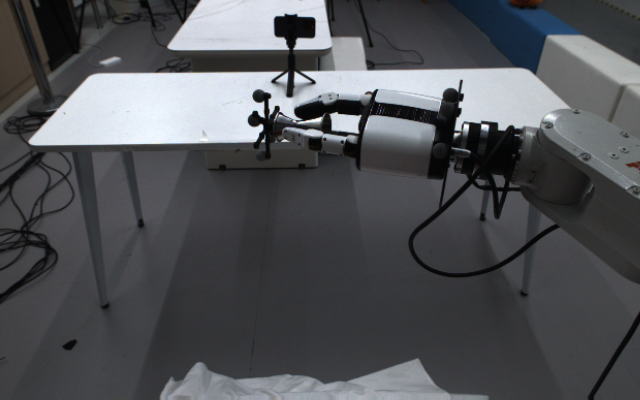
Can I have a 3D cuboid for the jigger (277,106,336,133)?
[{"bbox_3d":[-0.017,-0.098,0.642,0.071,0.043,0.043,5,34,17],"label":"jigger"}]
